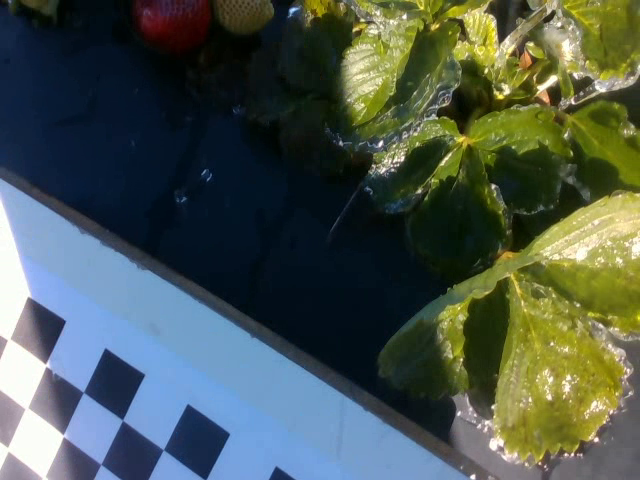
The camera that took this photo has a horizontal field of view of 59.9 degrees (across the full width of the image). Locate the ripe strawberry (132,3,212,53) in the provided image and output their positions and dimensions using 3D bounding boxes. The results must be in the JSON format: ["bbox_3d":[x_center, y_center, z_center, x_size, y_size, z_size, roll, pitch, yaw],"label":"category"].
[{"bbox_3d":[-0.071,-0.102,0.252,0.040,0.042,0.053,-8,29,13],"label":"ripe strawberry"}]
